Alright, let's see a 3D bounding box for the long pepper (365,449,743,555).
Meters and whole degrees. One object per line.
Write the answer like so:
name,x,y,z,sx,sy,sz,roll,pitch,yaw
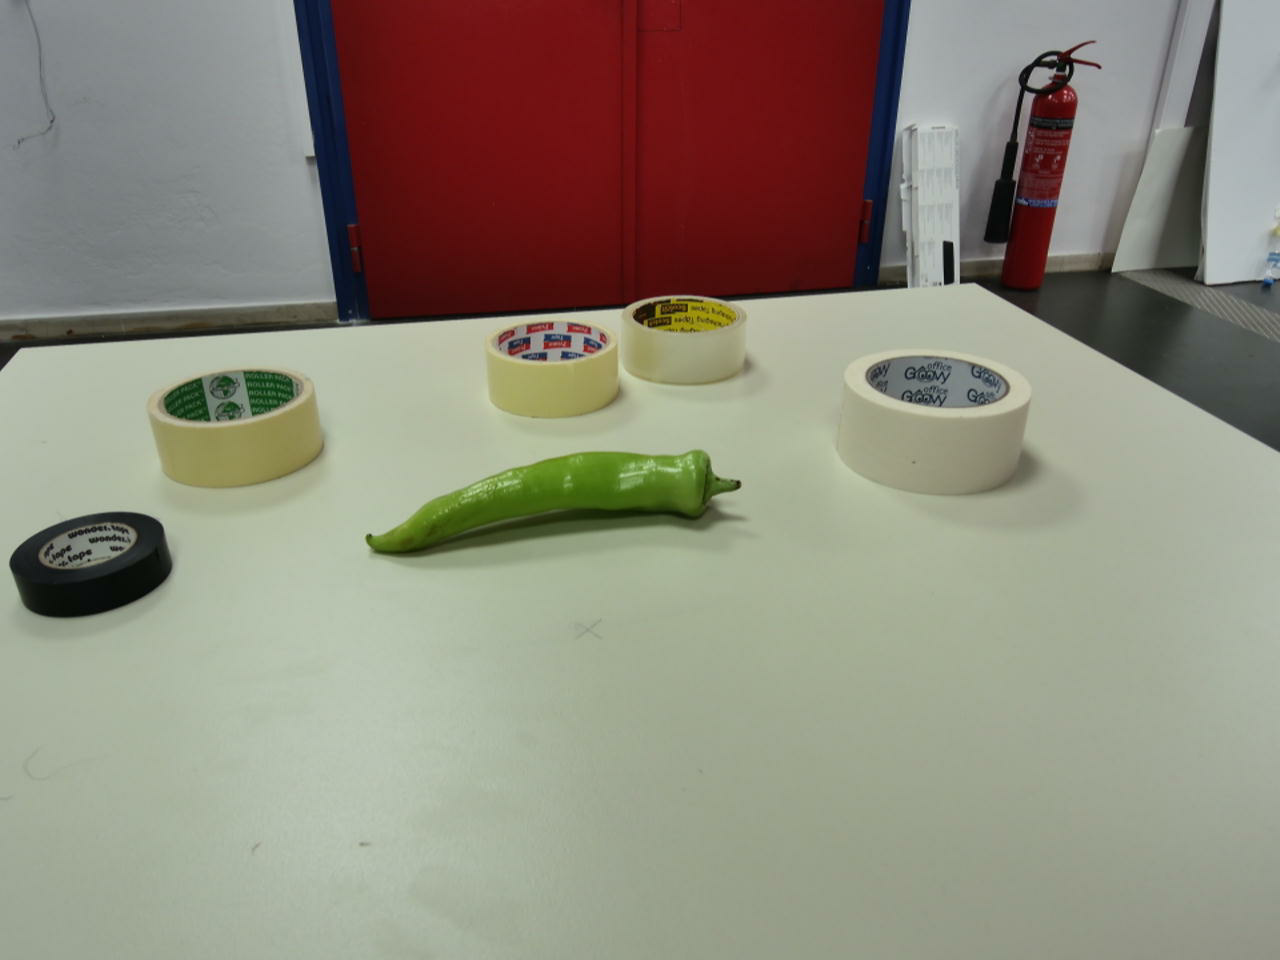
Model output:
long pepper,-0.045,0.006,0.528,0.197,0.038,0.046,-5,26,-10
